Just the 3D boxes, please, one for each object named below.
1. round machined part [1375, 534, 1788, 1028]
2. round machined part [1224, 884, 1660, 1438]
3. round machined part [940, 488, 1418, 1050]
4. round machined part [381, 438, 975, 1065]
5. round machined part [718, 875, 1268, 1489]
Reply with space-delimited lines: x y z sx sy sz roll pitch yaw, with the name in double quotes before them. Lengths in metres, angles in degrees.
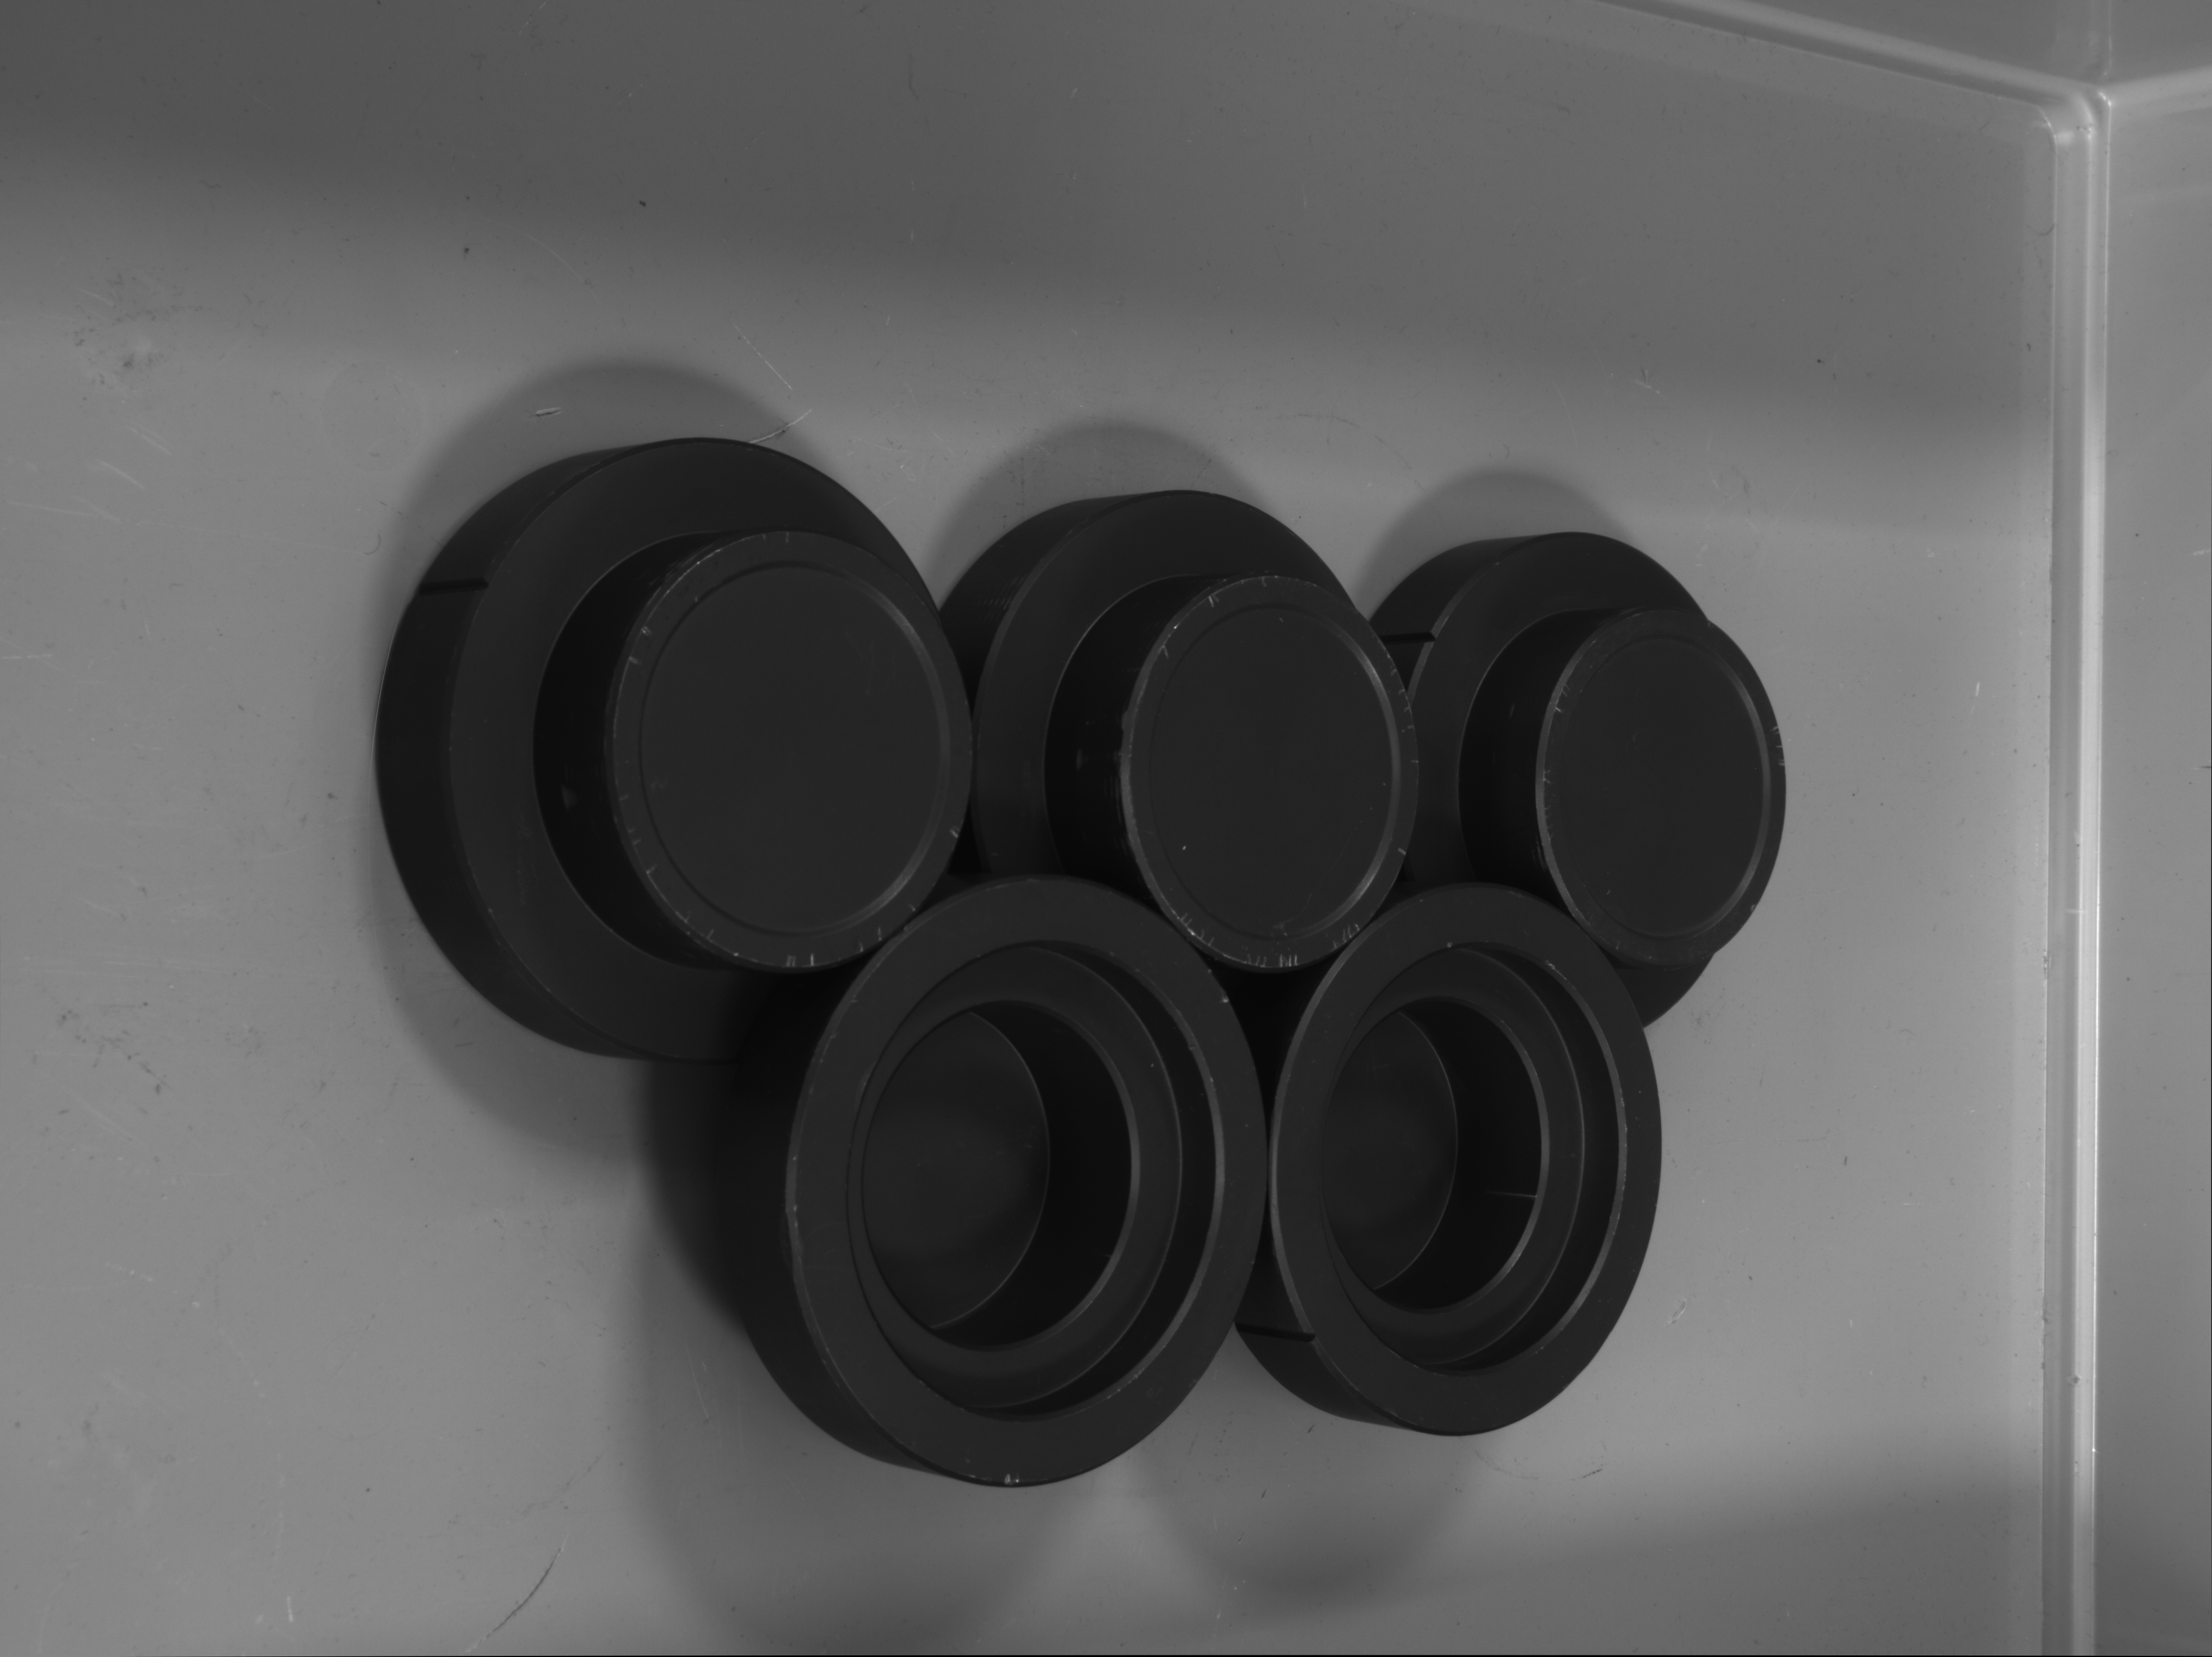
"round machined part" 0.092 -0.007 0.698 0.098 0.042 0.098 1 88 -39
"round machined part" 0.053 0.059 0.666 0.098 0.042 0.098 0 90 -40
"round machined part" 0.015 -0.010 0.635 0.098 0.042 0.098 1 88 -39
"round machined part" -0.060 -0.012 0.572 0.098 0.042 0.098 1 88 -41
"round machined part" -0.023 0.057 0.603 0.098 0.042 0.098 0 90 -40
